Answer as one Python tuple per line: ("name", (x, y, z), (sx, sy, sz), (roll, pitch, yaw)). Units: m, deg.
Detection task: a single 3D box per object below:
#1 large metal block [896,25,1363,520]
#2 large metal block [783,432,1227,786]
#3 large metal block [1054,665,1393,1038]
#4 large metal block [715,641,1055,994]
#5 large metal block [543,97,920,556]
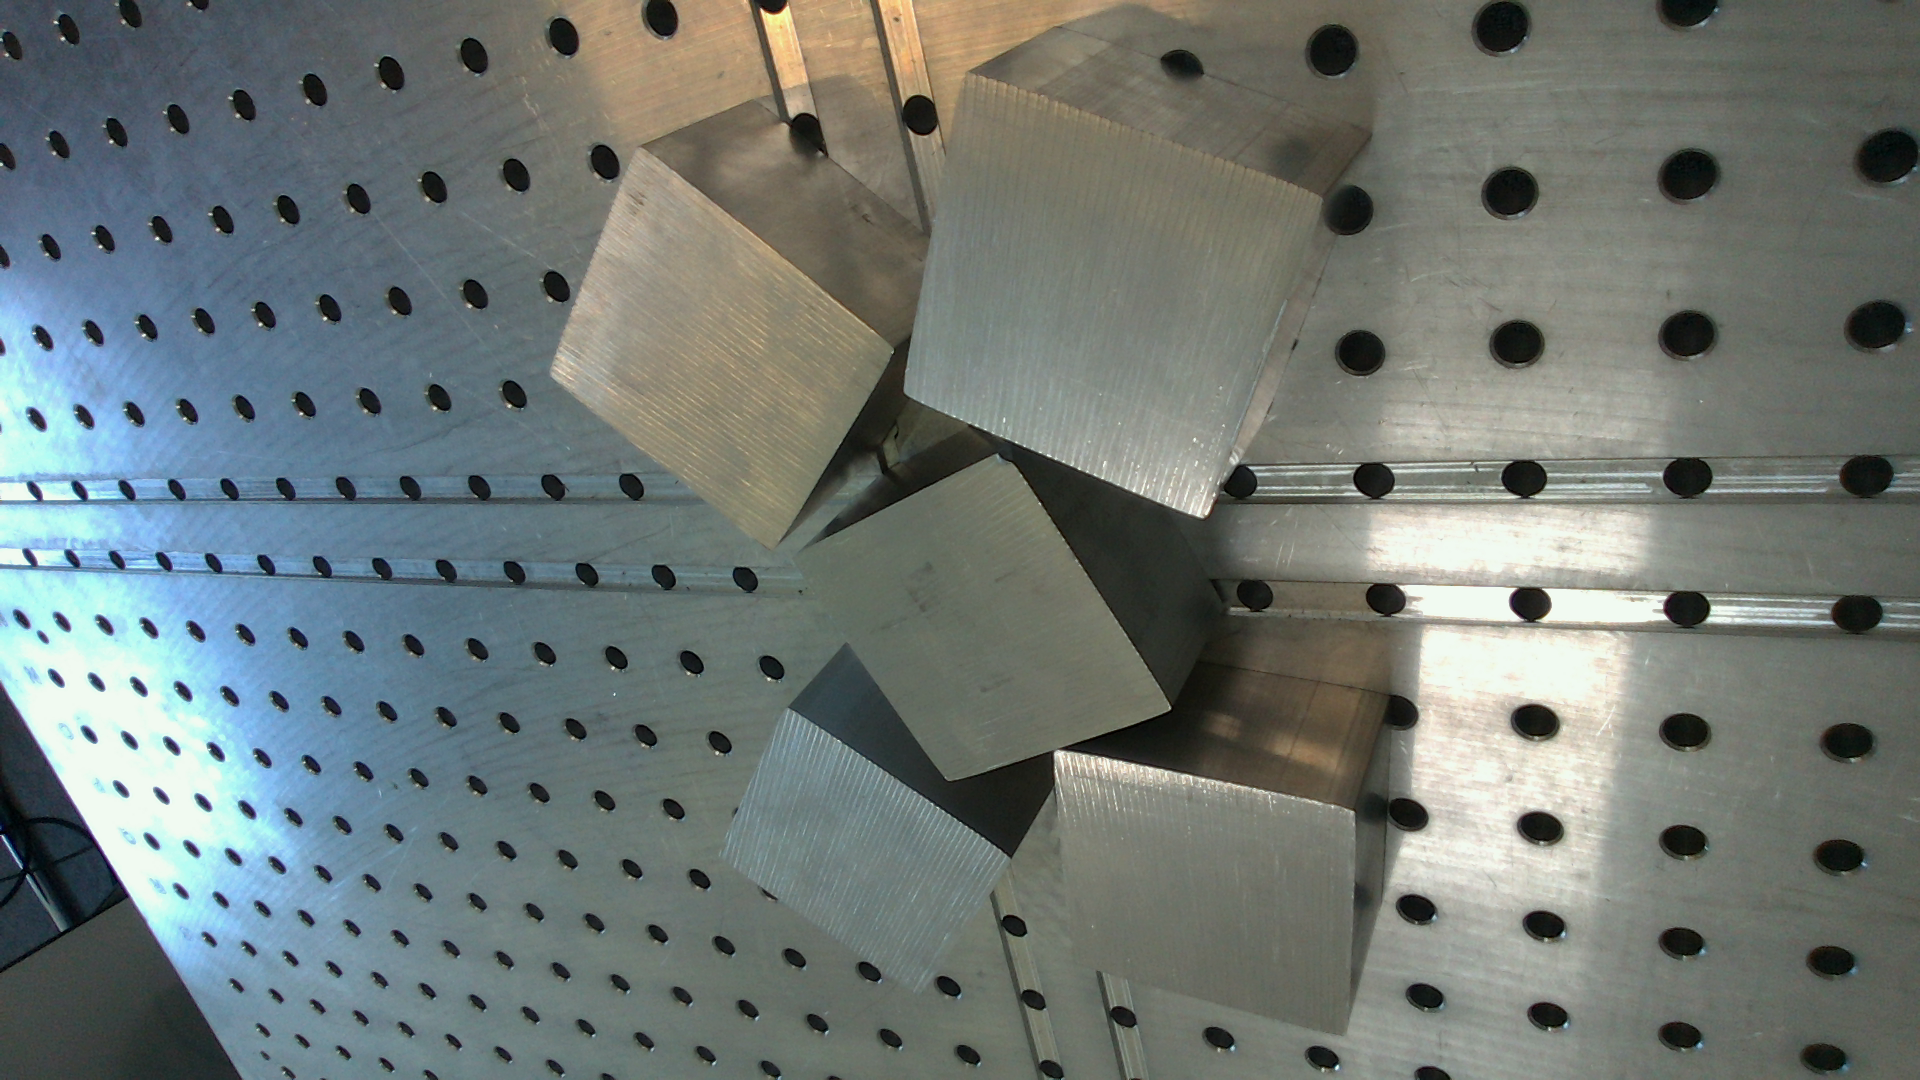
("large metal block", (0.037, -0.063, 0.319), (0.080, 0.050, 0.080), (21, 127, 12))
("large metal block", (0.013, 0.012, 0.379), (0.080, 0.050, 0.080), (-25, 105, 37))
("large metal block", (0.075, 0.084, 0.391), (0.080, 0.050, 0.080), (8, 122, 23))
("large metal block", (-0.023, 0.085, 0.443), (0.080, 0.050, 0.080), (33, 129, 7))
("large metal block", (-0.055, -0.057, 0.374), (0.080, 0.050, 0.080), (39, 130, 2))
